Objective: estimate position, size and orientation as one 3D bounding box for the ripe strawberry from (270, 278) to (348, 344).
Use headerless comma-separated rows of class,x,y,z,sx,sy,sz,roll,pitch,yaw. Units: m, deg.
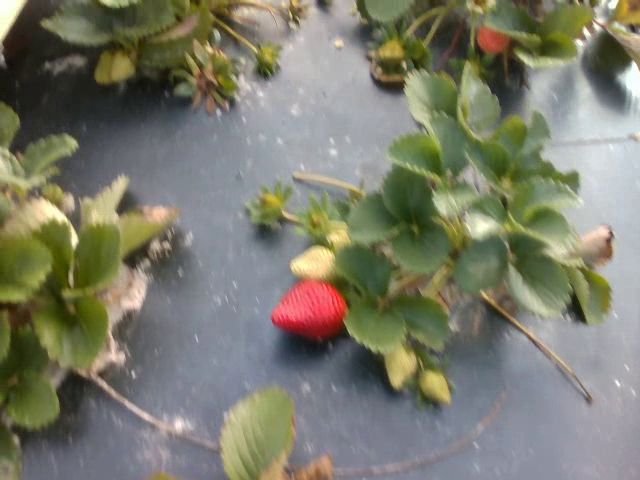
ripe strawberry,-0.015,0.051,0.433,0.055,0.048,0.051,-5,16,-39
